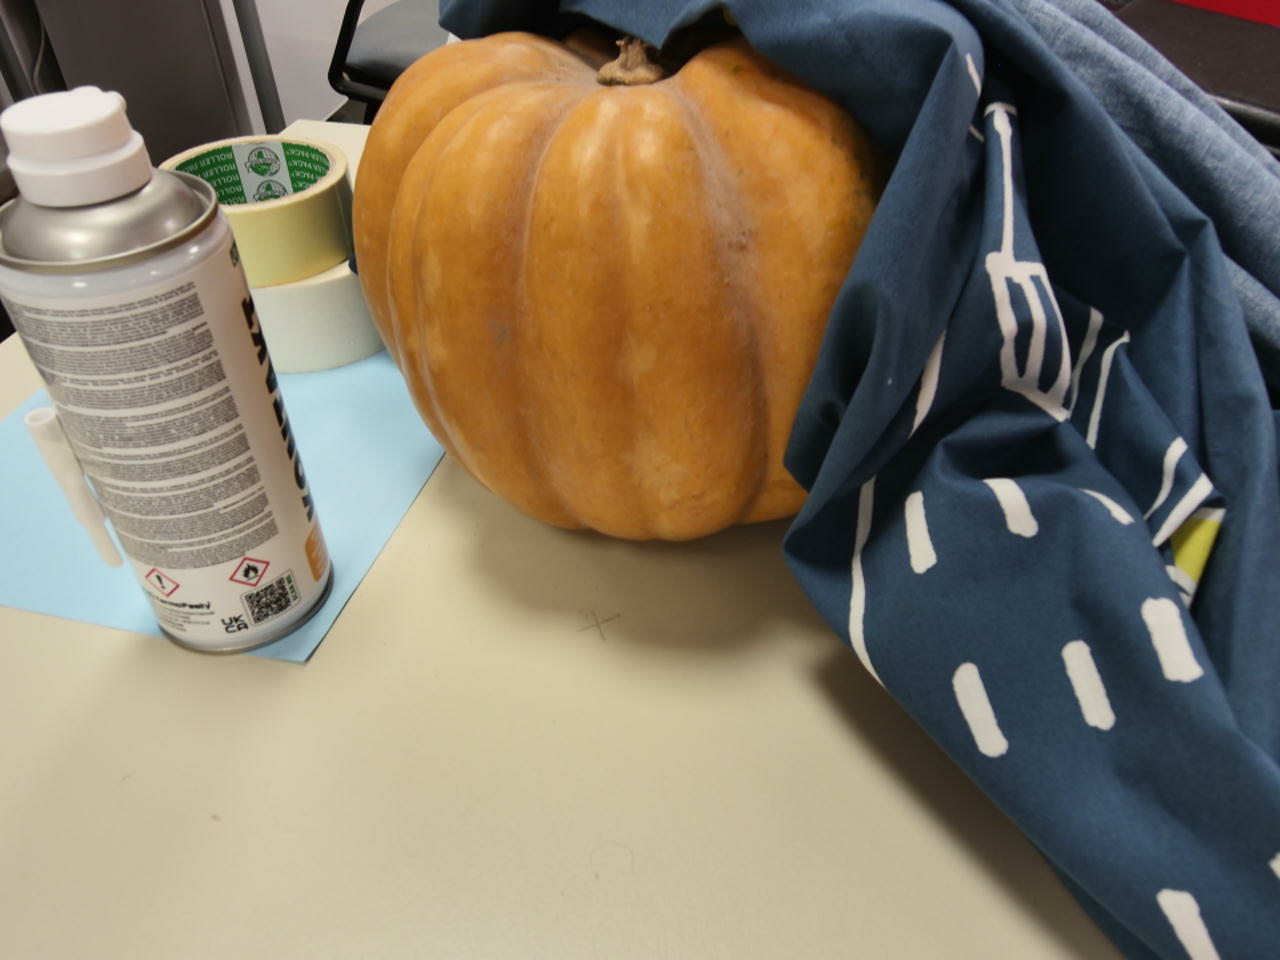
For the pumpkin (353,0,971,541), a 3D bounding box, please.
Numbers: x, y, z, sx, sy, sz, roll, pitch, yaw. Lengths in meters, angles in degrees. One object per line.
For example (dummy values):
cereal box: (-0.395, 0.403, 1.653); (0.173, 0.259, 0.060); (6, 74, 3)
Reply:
pumpkin: (0.011, -0.082, 0.388); (0.230, 0.194, 0.230); (0, 39, 0)
